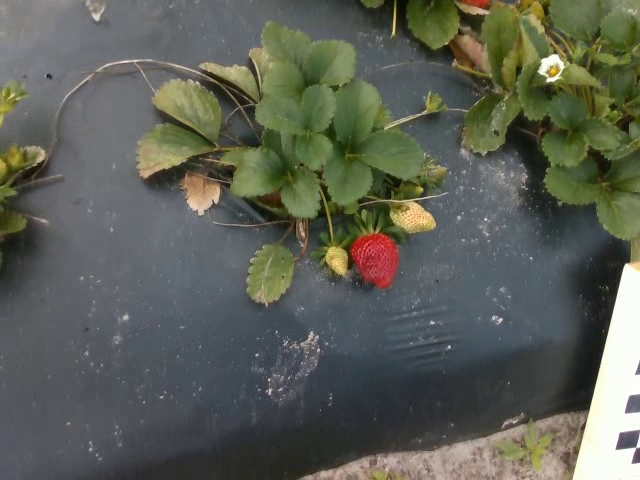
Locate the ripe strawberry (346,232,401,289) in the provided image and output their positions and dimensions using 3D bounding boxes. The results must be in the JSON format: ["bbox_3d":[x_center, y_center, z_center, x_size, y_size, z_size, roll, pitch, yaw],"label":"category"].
[{"bbox_3d":[0.050,0.022,0.504,0.046,0.059,0.046,-10,-42,-5],"label":"ripe strawberry"}]
